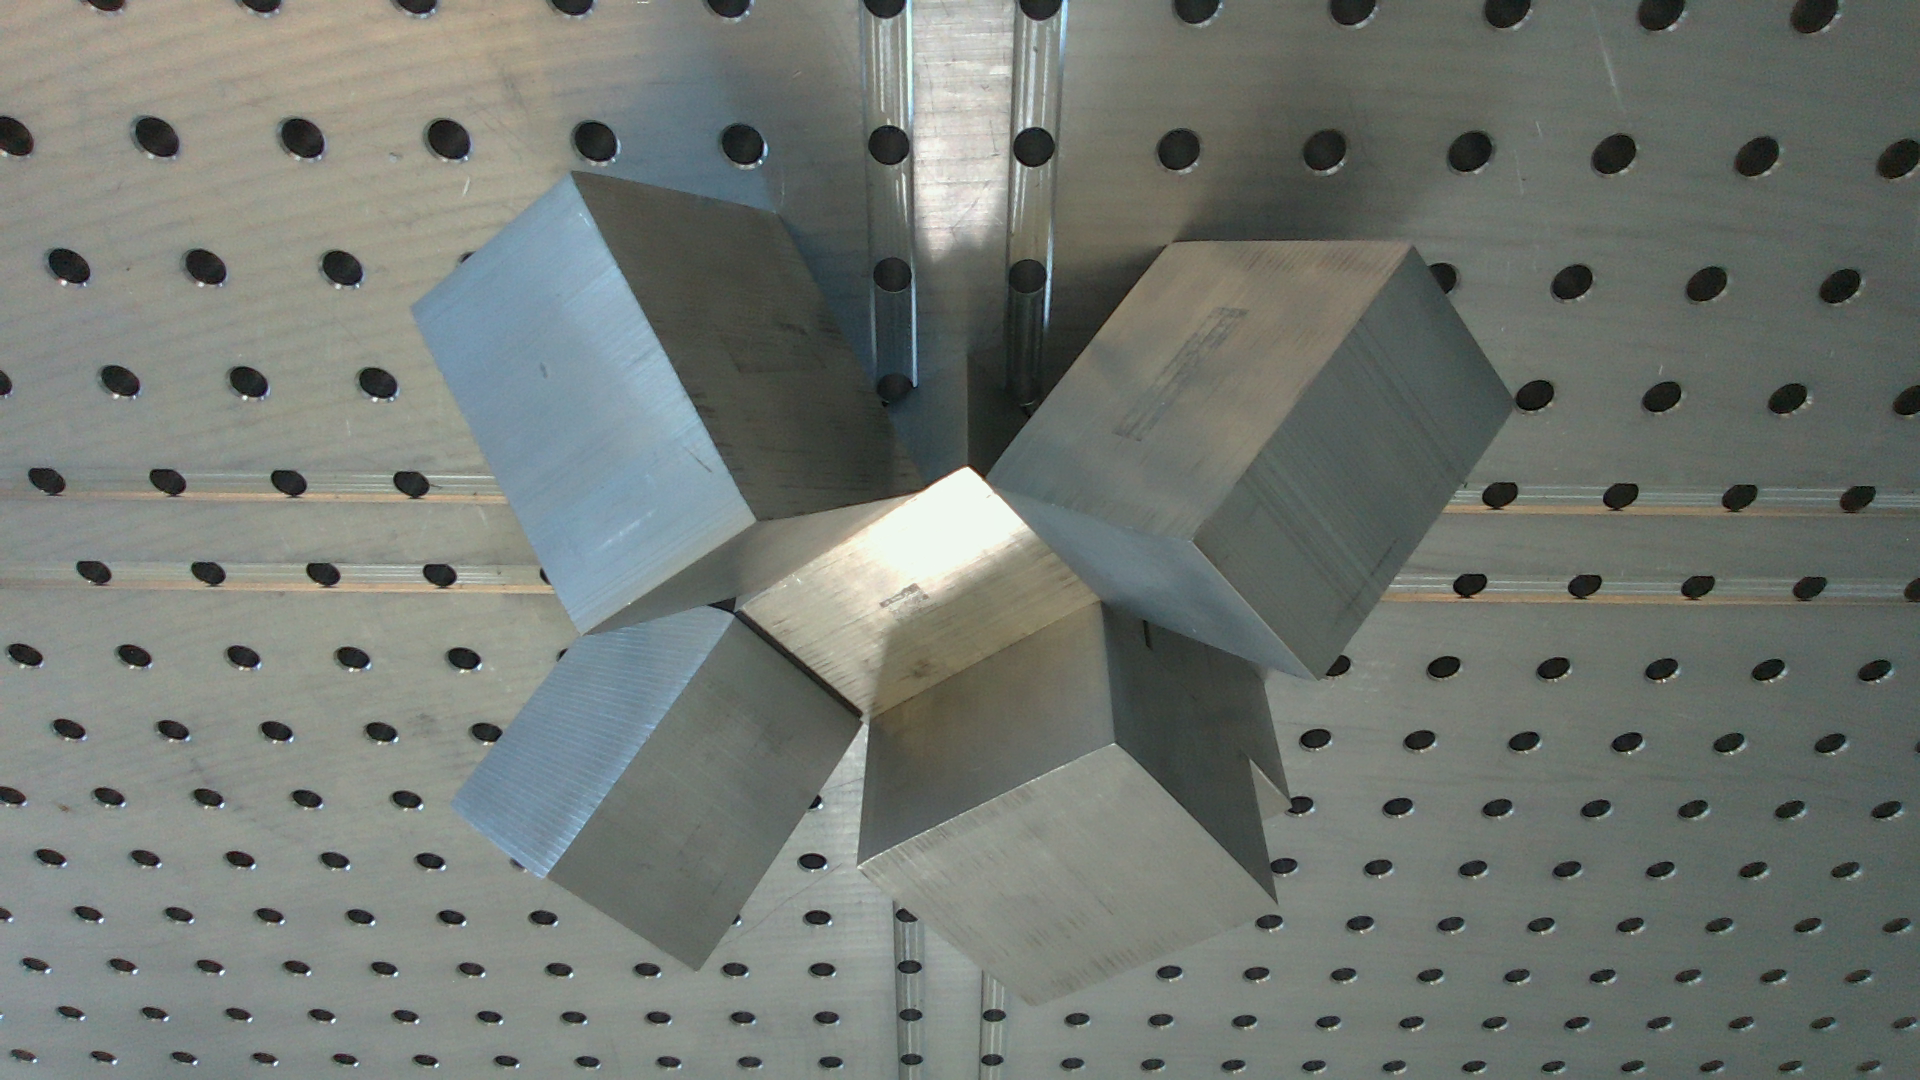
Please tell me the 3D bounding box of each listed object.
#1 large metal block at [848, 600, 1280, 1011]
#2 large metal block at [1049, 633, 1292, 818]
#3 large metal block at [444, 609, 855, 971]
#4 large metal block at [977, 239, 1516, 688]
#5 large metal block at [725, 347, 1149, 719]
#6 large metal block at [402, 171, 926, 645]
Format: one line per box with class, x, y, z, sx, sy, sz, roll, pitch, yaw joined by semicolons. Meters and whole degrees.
large metal block;0.027;0.074;0.373;0.080;0.050;0.080;-31;124;22
large metal block;0.043;0.058;0.425;0.080;0.050;0.080;-30;123;22
large metal block;-0.089;0.063;0.390;0.050;0.080;0.080;45;159;-30
large metal block;0.064;-0.022;0.319;0.050;0.080;0.080;44;78;-30
large metal block;-0.005;0.008;0.384;0.080;0.050;0.080;-31;124;23
large metal block;-0.063;-0.030;0.312;0.050;0.080;0.080;-31;85;23
